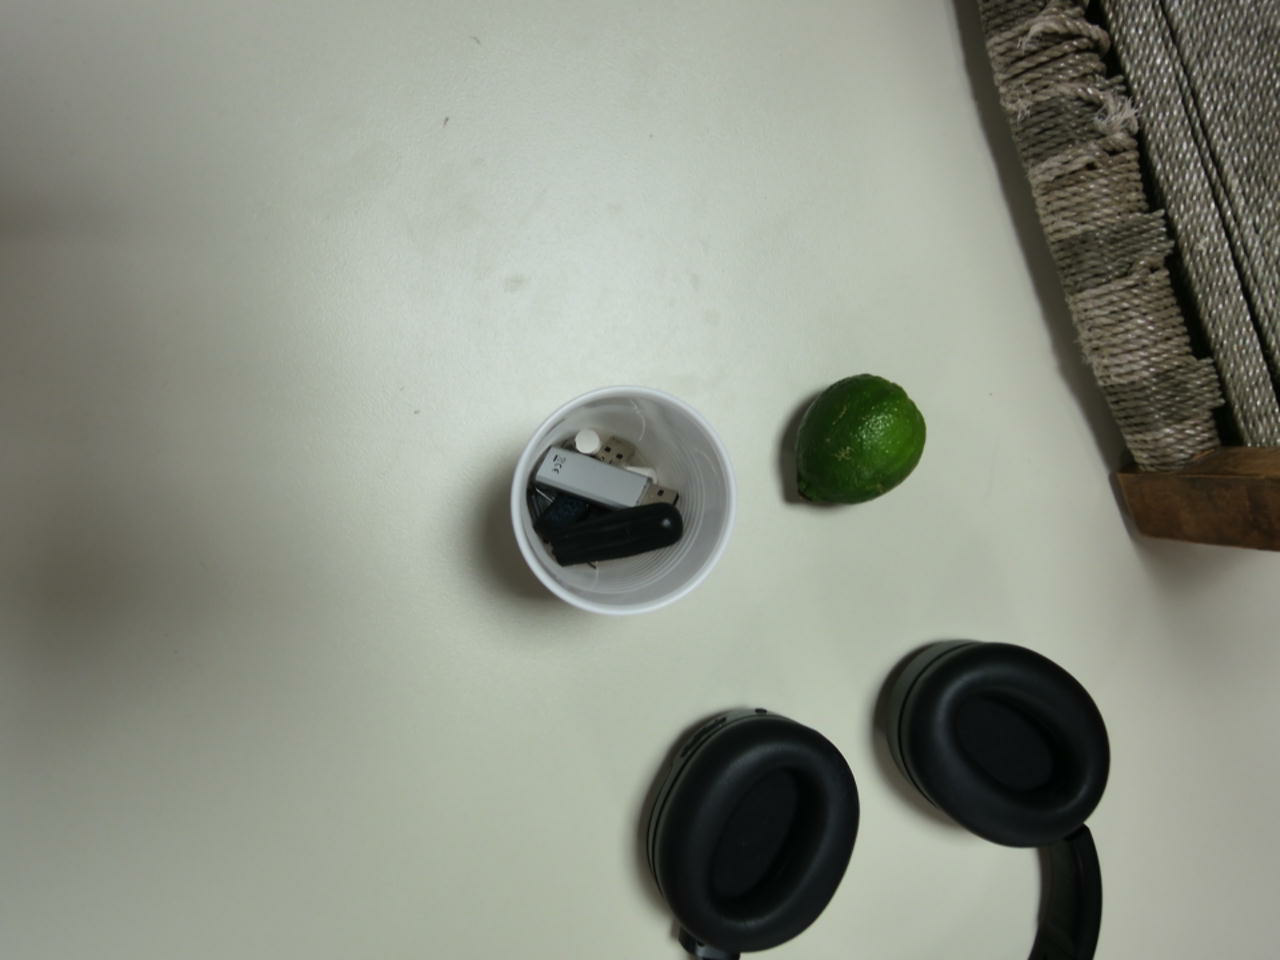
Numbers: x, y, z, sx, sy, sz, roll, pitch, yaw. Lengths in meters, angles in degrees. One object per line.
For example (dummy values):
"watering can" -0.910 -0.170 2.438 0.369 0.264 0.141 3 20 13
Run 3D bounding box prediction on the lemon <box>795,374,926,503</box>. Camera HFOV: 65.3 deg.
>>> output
"lemon" 0.096 -0.018 0.437 0.054 0.051 0.057 6 89 -12
